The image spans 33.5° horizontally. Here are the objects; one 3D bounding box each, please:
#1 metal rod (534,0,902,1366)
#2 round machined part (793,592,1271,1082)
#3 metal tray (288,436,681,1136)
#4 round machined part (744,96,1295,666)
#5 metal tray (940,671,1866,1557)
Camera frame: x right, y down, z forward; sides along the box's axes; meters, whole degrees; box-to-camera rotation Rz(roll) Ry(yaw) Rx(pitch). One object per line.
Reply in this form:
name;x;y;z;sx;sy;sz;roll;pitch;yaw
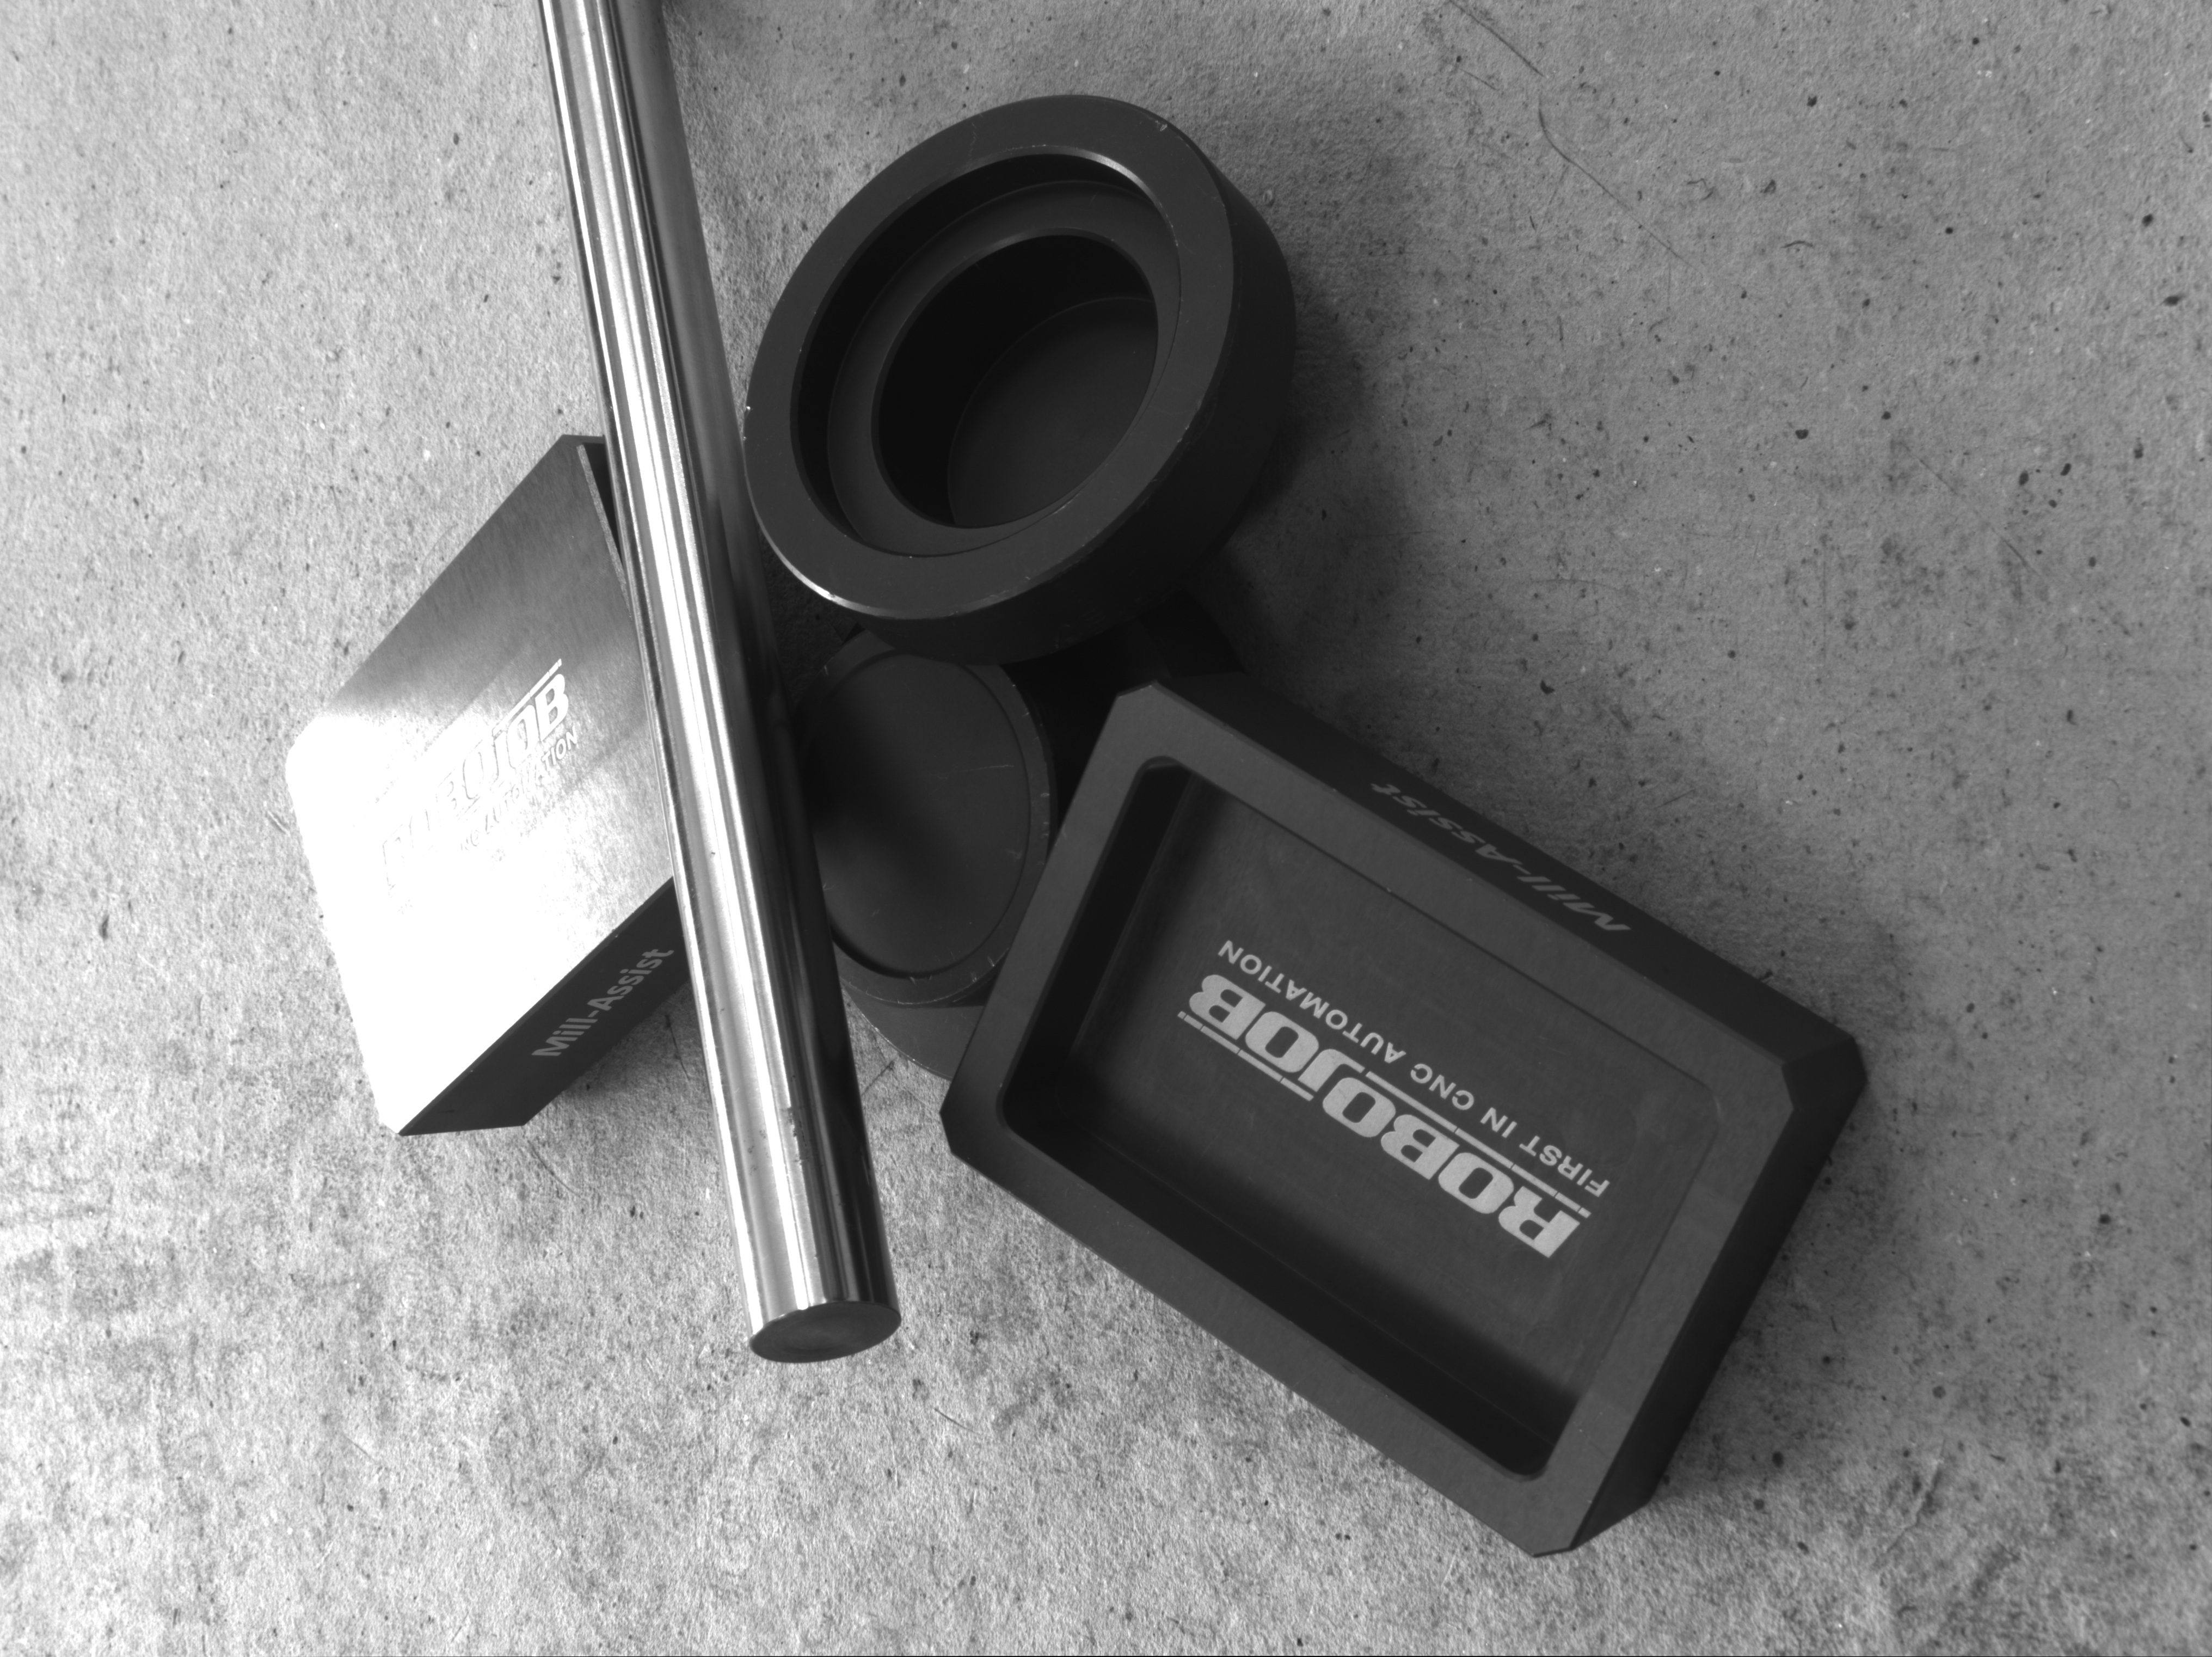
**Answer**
metal rod;-0.075;-0.047;0.665;0.025;0.025;0.300;-34;56;35
round machined part;-0.021;-0.002;0.653;0.098;0.042;0.098;0;90;40
metal tray;-0.111;-0.006;0.722;0.130;0.030;0.090;-39;63;43
round machined part;-0.010;-0.072;0.629;0.098;0.042;0.098;-14;61;28
metal tray;0.044;0.043;0.591;0.130;0.030;0.090;32;110;24
